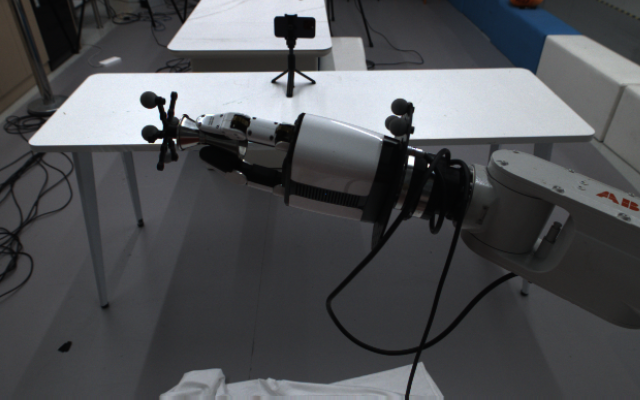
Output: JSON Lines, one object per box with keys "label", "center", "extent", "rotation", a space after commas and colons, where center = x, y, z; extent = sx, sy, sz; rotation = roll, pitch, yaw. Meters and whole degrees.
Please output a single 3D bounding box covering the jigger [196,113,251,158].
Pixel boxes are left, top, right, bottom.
{"label": "jigger", "center": [-0.108, -0.072, 0.528], "extent": [0.071, 0.043, 0.043], "rotation": [6, 35, 2]}
